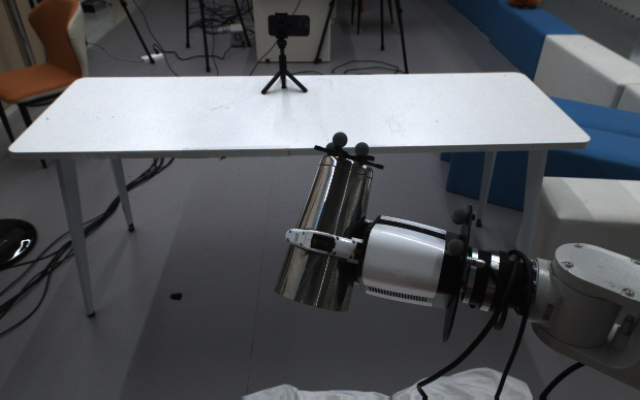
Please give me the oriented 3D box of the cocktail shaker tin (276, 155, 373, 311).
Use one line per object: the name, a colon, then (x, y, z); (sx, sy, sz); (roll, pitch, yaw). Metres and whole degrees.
cocktail shaker tin: (0.013, 0.038, 0.584); (0.093, 0.170, 0.093); (15, -4, 1)
